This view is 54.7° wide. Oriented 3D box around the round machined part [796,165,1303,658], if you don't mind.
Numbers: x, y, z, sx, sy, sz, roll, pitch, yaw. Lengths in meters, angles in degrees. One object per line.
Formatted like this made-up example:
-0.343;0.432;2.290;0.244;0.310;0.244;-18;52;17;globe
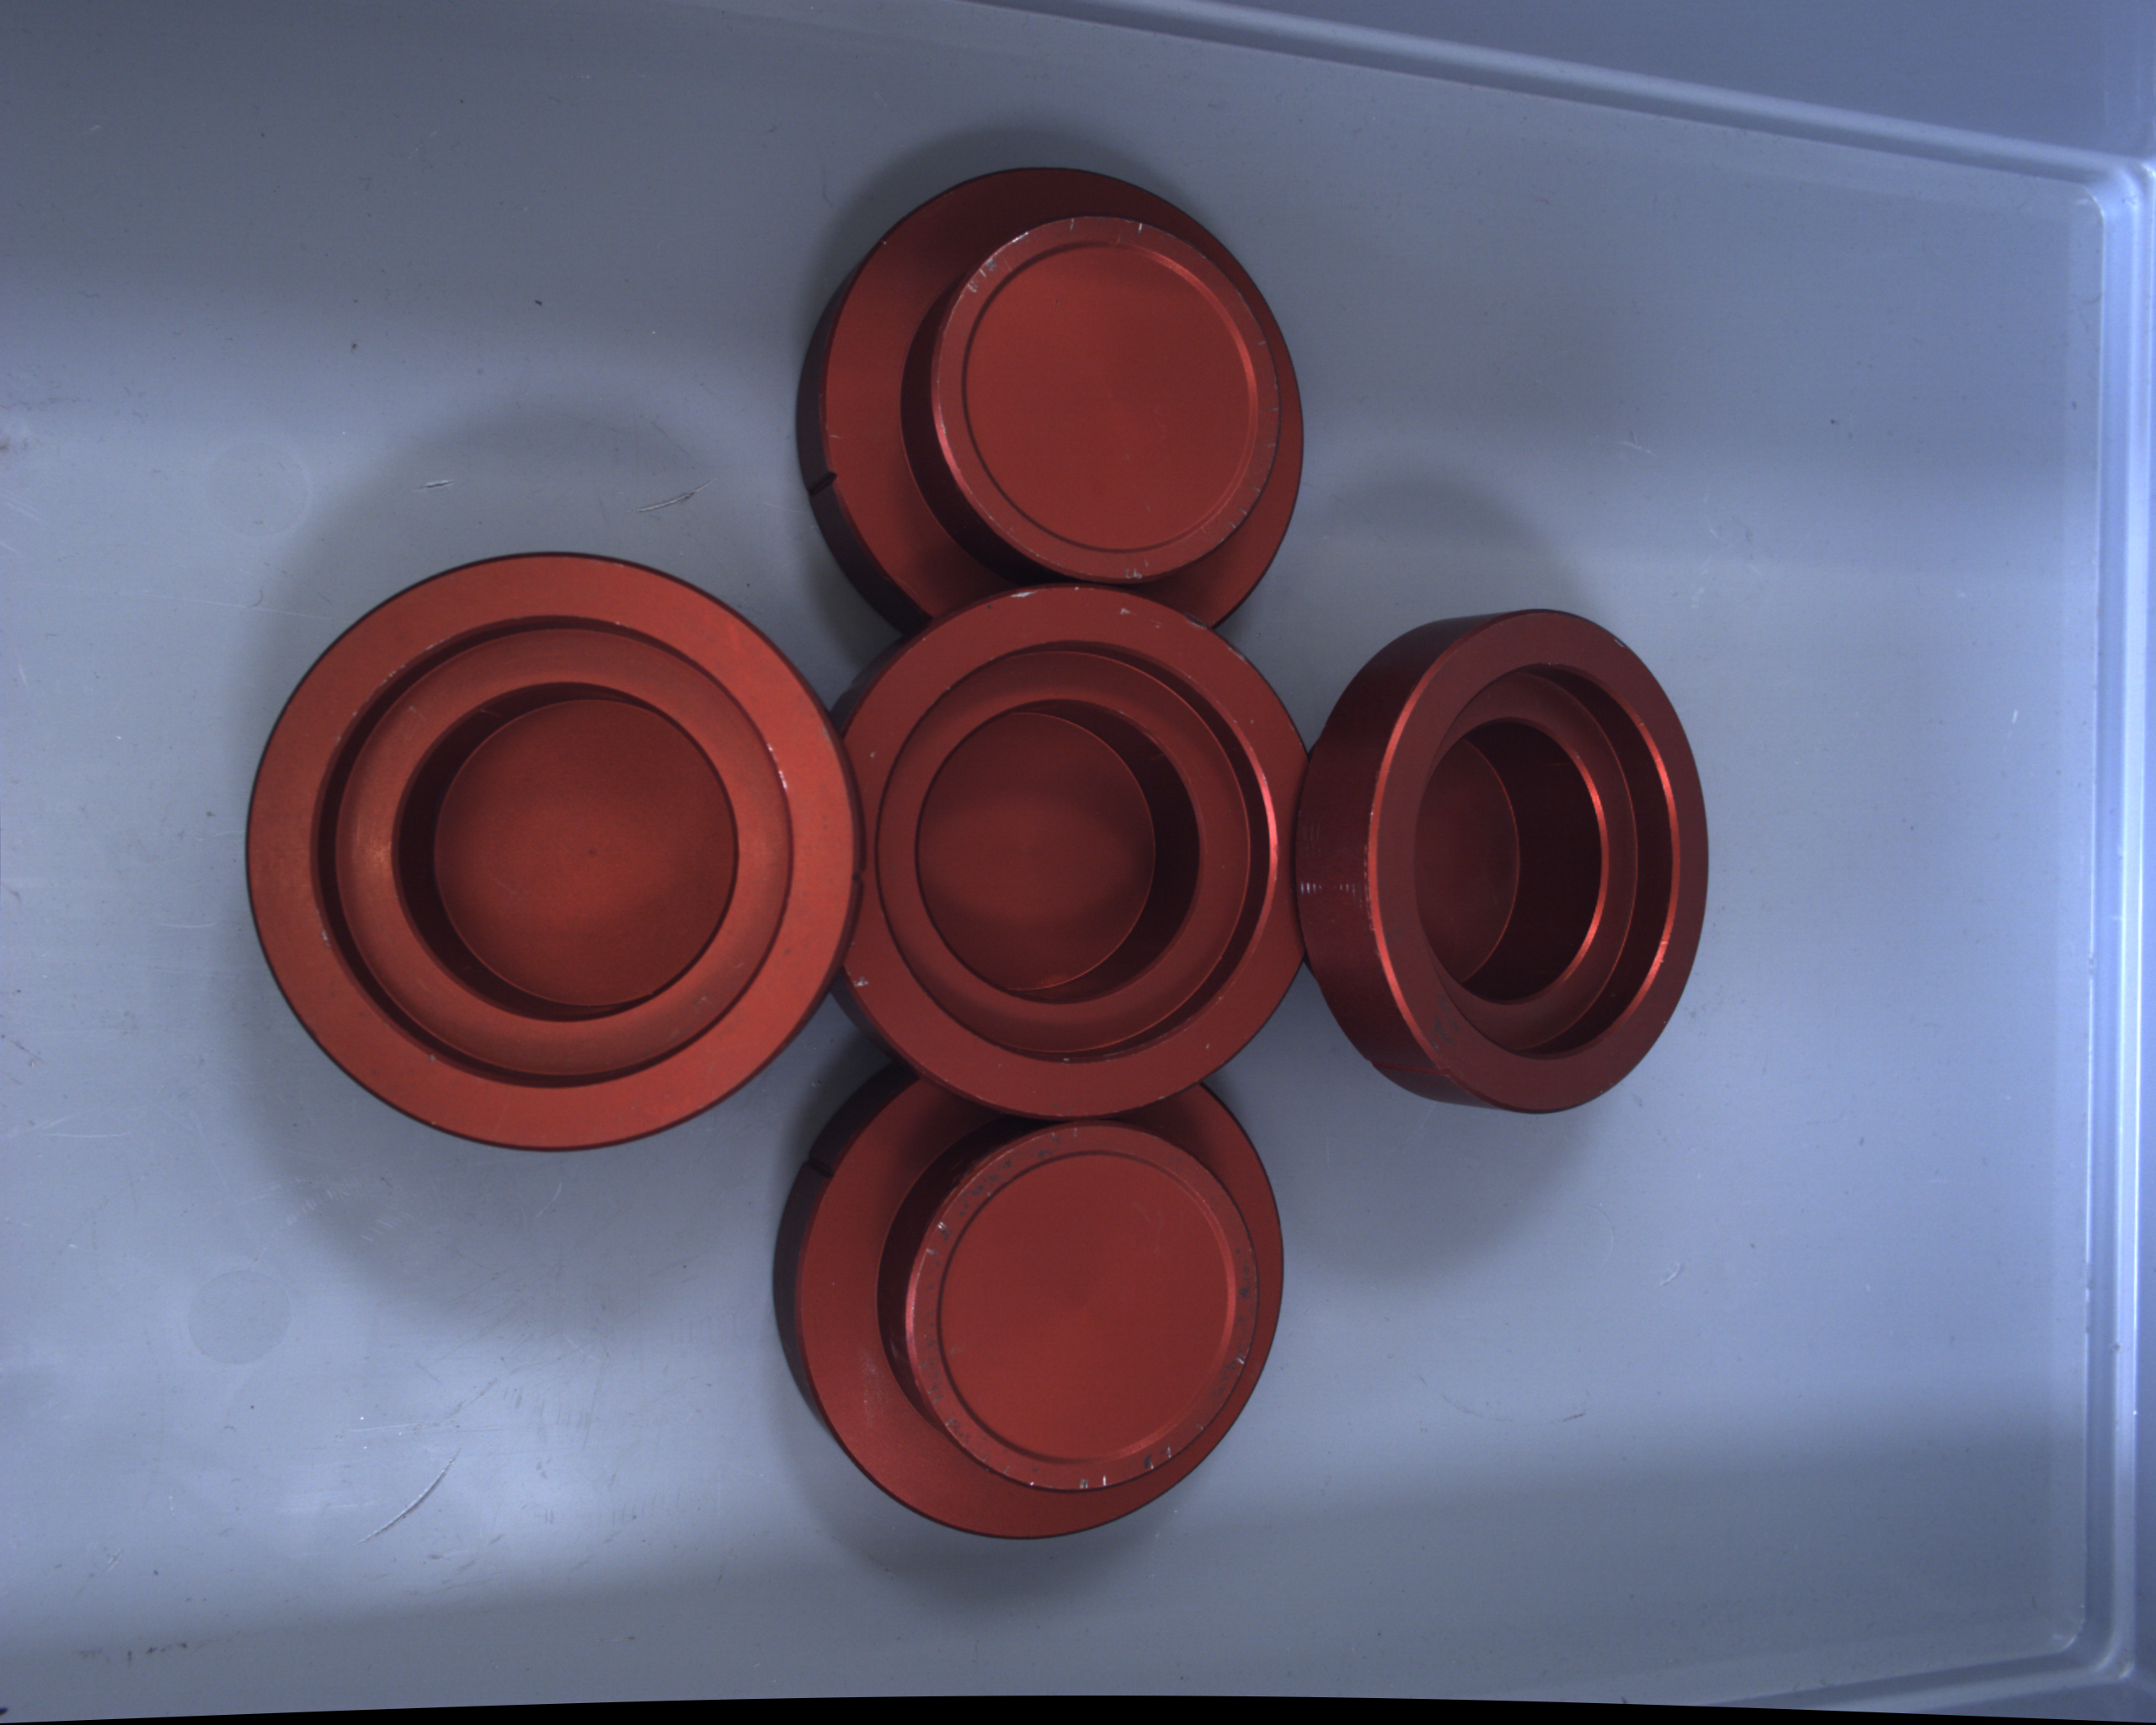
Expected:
-0.001;-0.085;0.399;0.099;0.042;0.097;0;90;-20;round machined part

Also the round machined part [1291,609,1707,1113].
0.079;0.000;0.420;0.099;0.042;0.097;0;91;-37;round machined part

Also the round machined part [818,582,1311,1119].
-0.006;-0.002;0.397;0.099;0.042;0.097;0;90;-20;round machined part

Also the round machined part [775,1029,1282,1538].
-0.005;0.080;0.398;0.099;0.042;0.097;0;90;-20;round machined part

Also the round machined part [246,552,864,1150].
-0.086;-0.002;0.359;0.099;0.042;0.097;0;90;-3;round machined part
